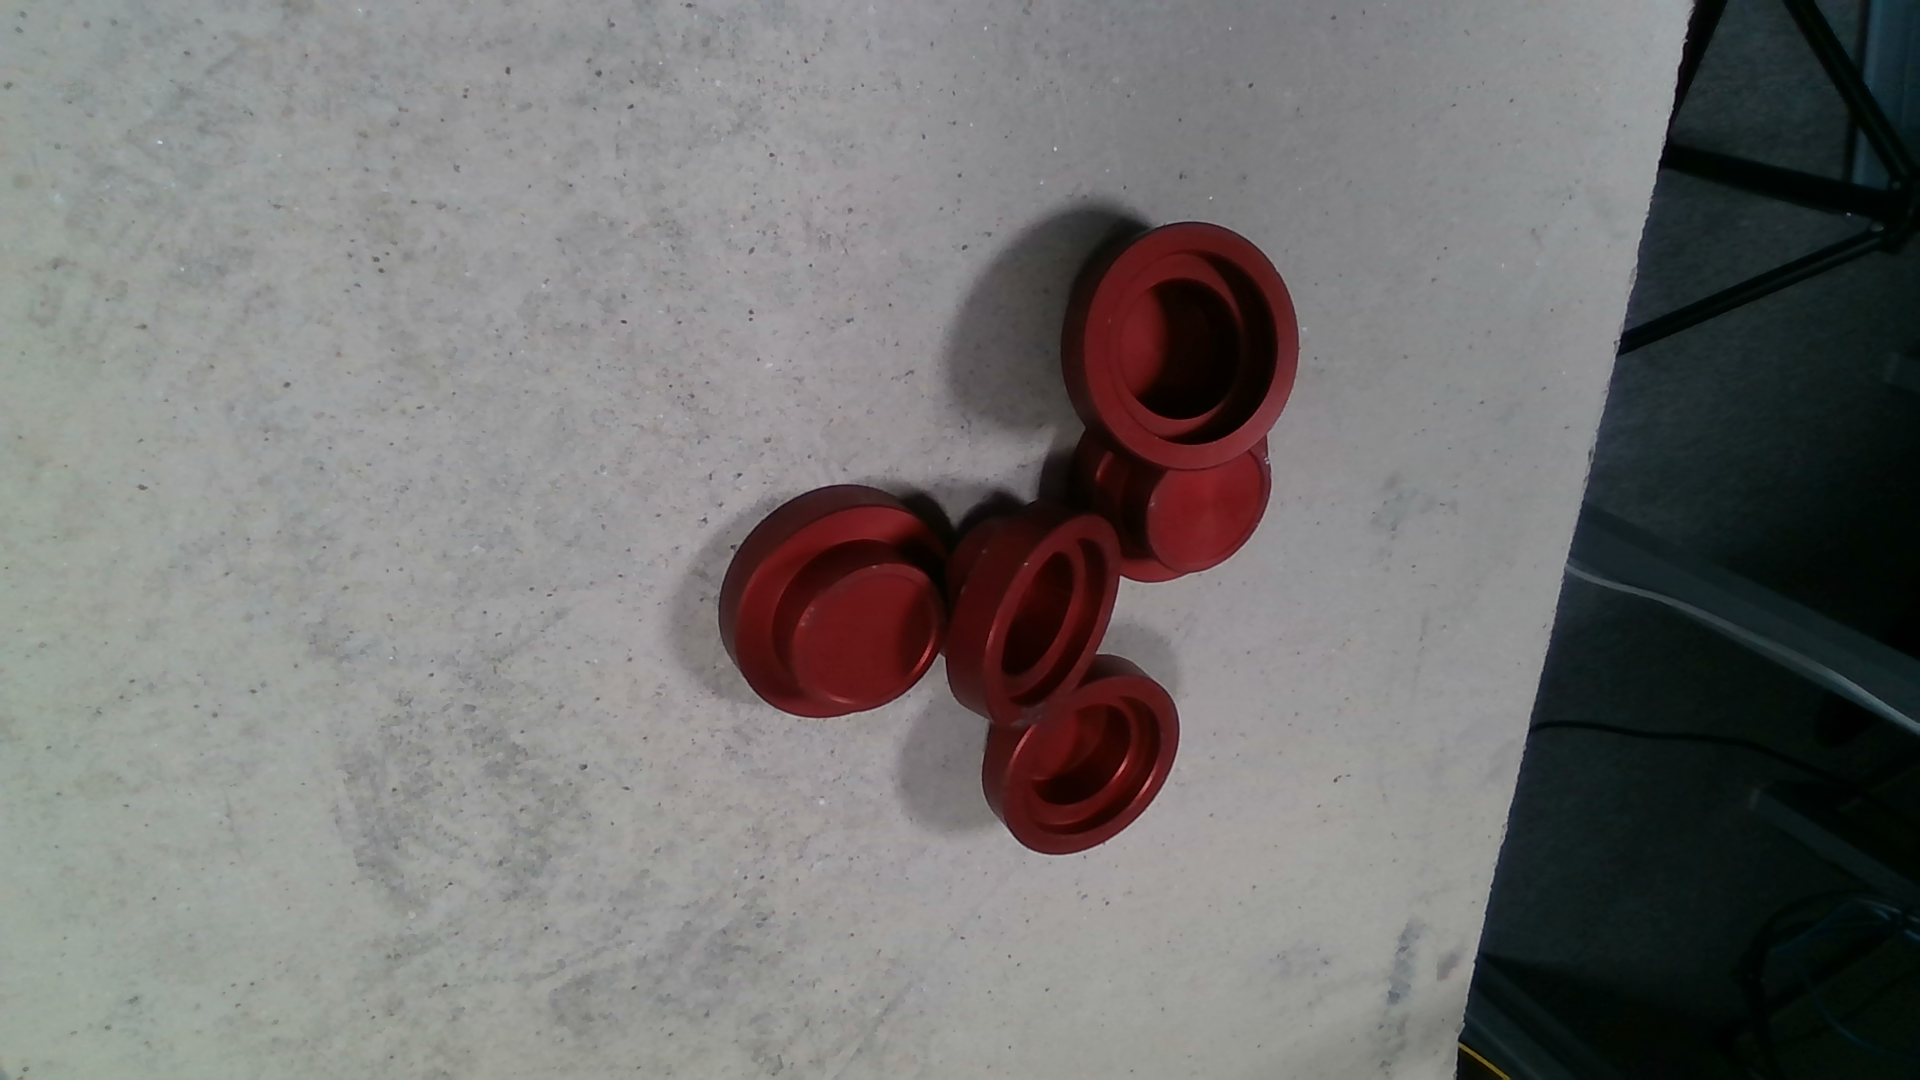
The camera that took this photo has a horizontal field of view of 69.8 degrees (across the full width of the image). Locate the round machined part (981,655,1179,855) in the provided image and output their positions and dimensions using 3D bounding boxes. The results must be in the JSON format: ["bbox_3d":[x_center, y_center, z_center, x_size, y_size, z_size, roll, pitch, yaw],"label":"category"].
[{"bbox_3d":[0.052,0.097,0.654,0.098,0.042,0.098,-14,122,-25],"label":"round machined part"}]

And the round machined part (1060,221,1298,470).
[{"bbox_3d":[0.086,-0.079,0.566,0.098,0.042,0.098,-2,96,-20],"label":"round machined part"}]

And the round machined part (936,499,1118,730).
[{"bbox_3d":[0.023,0.028,0.586,0.098,0.042,0.098,-34,135,-42],"label":"round machined part"}]

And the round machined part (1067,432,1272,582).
[{"bbox_3d":[0.100,-0.024,0.617,0.098,0.042,0.098,-14,122,-25],"label":"round machined part"}]

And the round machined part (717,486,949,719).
[{"bbox_3d":[-0.045,0.031,0.558,0.098,0.042,0.098,-14,122,-25],"label":"round machined part"}]
